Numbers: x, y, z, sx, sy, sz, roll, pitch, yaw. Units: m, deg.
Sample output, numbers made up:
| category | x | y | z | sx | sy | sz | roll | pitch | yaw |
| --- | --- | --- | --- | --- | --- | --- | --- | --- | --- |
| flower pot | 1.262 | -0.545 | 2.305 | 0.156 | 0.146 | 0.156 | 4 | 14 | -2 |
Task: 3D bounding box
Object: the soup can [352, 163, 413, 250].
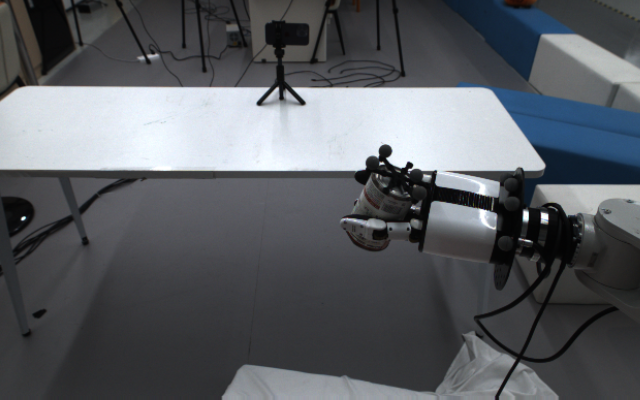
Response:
| category | x | y | z | sx | sy | sz | roll | pitch | yaw |
| --- | --- | --- | --- | --- | --- | --- | --- | --- | --- |
| soup can | 0.083 | 0.011 | 0.651 | 0.067 | 0.101 | 0.067 | 14 | 39 | -12 |
